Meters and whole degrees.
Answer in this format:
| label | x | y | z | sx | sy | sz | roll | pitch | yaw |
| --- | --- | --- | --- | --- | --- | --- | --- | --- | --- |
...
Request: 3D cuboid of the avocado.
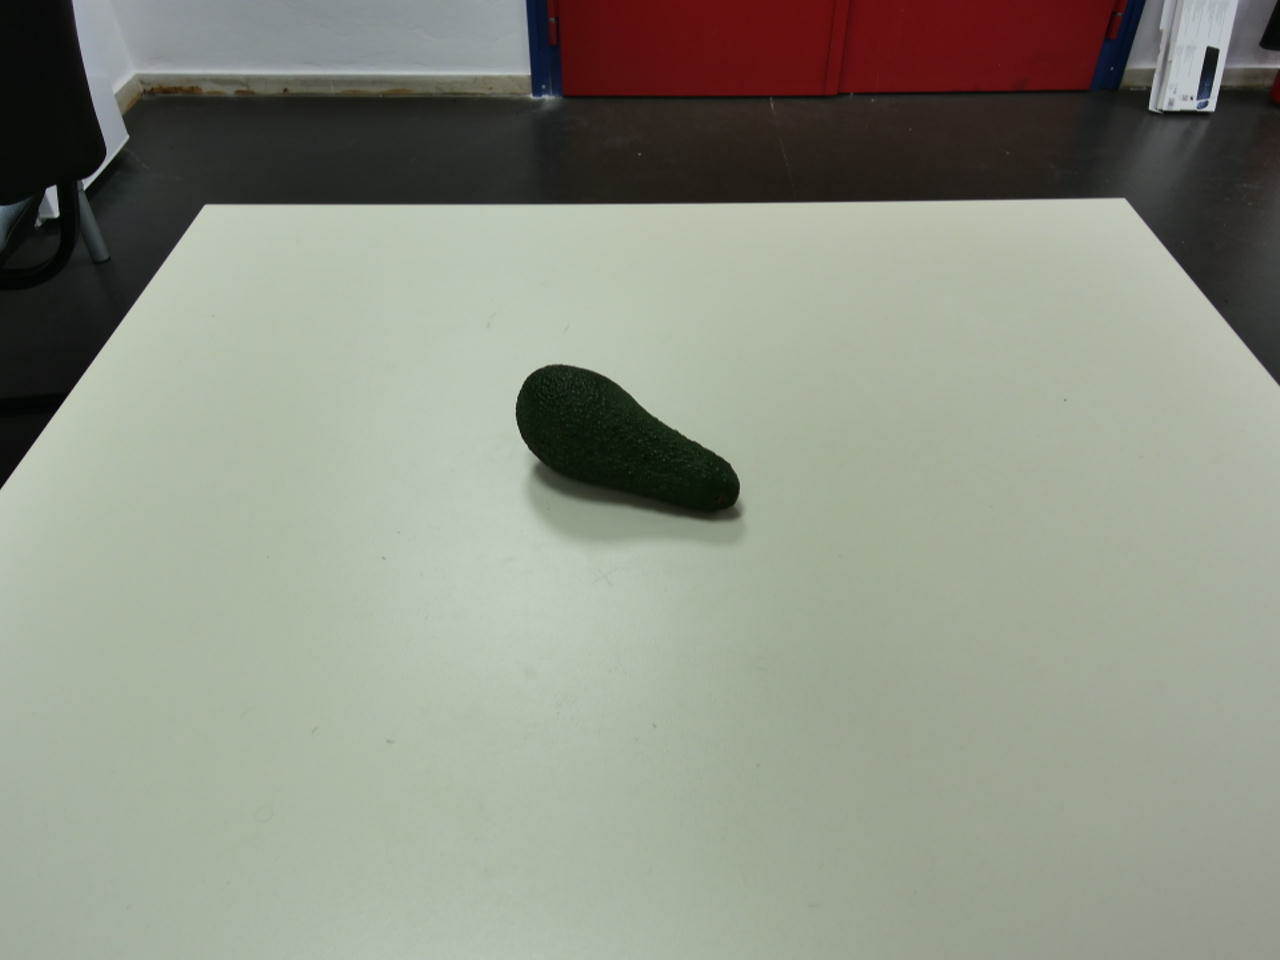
| label | x | y | z | sx | sy | sz | roll | pitch | yaw |
| --- | --- | --- | --- | --- | --- | --- | --- | --- | --- |
| avocado | -0.006 | -0.029 | 0.580 | 0.141 | 0.067 | 0.063 | 10 | 40 | 12 |
